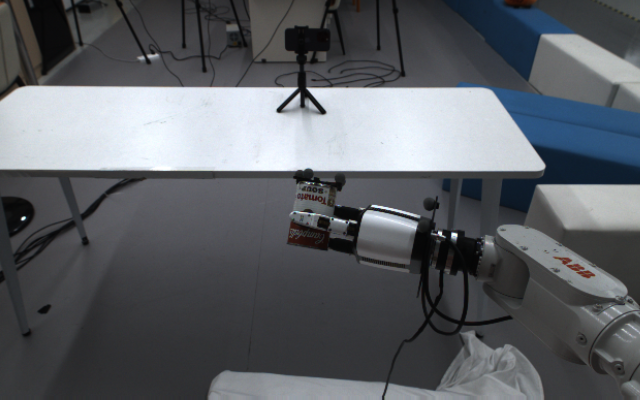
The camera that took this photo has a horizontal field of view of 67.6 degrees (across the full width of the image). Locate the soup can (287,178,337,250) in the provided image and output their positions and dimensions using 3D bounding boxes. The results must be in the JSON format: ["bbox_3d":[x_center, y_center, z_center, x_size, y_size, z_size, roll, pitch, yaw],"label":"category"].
[{"bbox_3d":[-0.012,0.026,0.778,0.067,0.101,0.067,9,-5,1],"label":"soup can"}]
